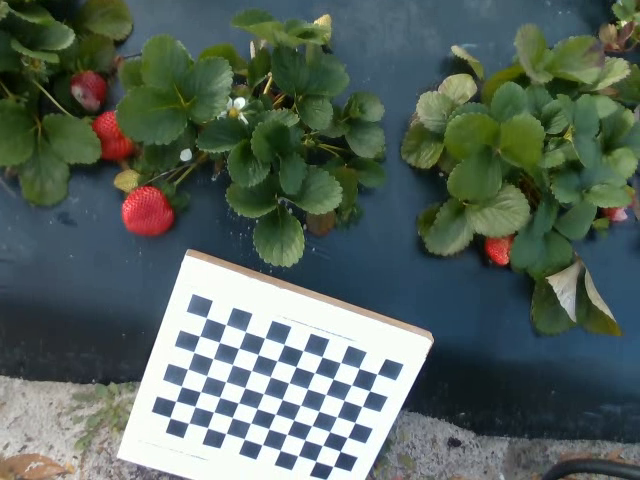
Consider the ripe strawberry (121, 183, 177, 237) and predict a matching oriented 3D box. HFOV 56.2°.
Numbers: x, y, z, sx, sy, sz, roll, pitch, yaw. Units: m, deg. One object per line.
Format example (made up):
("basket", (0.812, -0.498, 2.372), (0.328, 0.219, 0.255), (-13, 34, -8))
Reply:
("ripe strawberry", (-0.080, -0.010, 0.269), (0.022, 0.025, 0.030), (13, 28, 20))
